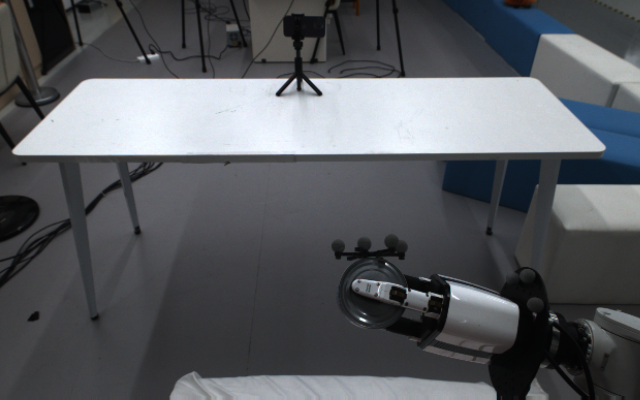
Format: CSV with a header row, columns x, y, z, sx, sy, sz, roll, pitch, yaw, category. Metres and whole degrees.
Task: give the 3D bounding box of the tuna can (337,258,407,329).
x,y,z,sx,sy,sz,roll,pitch,yaw,category
0.065,0.113,0.591,0.085,0.034,0.085,1,70,-3,tuna can
